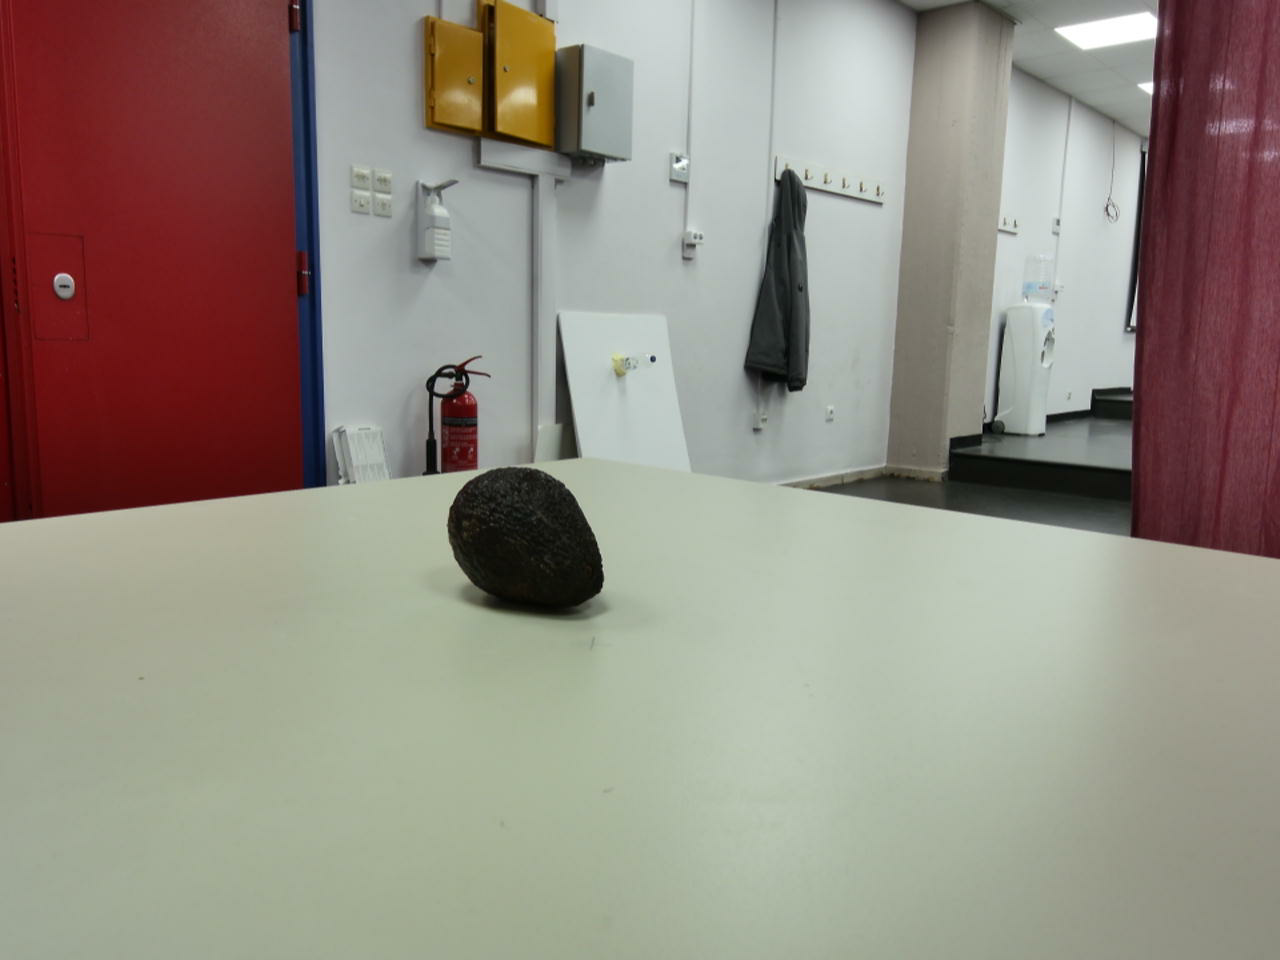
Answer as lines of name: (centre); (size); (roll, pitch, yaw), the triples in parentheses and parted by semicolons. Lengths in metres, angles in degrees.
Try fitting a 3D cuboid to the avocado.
avocado: (-0.061, 0.029, 0.517); (0.070, 0.069, 0.090); (-2, 7, -23)
